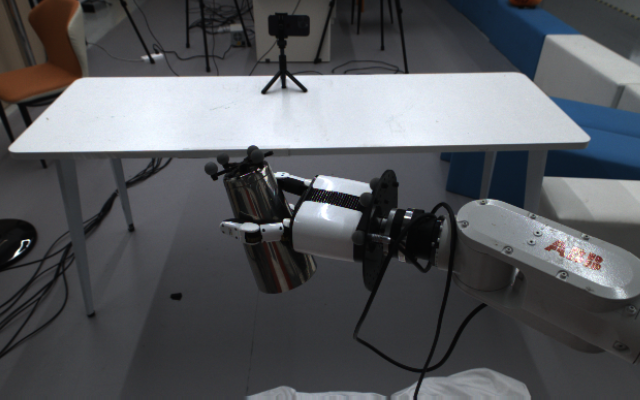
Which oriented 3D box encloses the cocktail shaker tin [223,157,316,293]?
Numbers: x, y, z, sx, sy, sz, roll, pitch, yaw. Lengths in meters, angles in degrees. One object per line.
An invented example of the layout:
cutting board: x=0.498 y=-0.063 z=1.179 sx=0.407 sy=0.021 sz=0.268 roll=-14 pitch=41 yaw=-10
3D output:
cocktail shaker tin: x=-0.074 y=0.035 z=0.678 sx=0.093 sy=0.170 sz=0.093 roll=-17 pitch=21 yaw=7
